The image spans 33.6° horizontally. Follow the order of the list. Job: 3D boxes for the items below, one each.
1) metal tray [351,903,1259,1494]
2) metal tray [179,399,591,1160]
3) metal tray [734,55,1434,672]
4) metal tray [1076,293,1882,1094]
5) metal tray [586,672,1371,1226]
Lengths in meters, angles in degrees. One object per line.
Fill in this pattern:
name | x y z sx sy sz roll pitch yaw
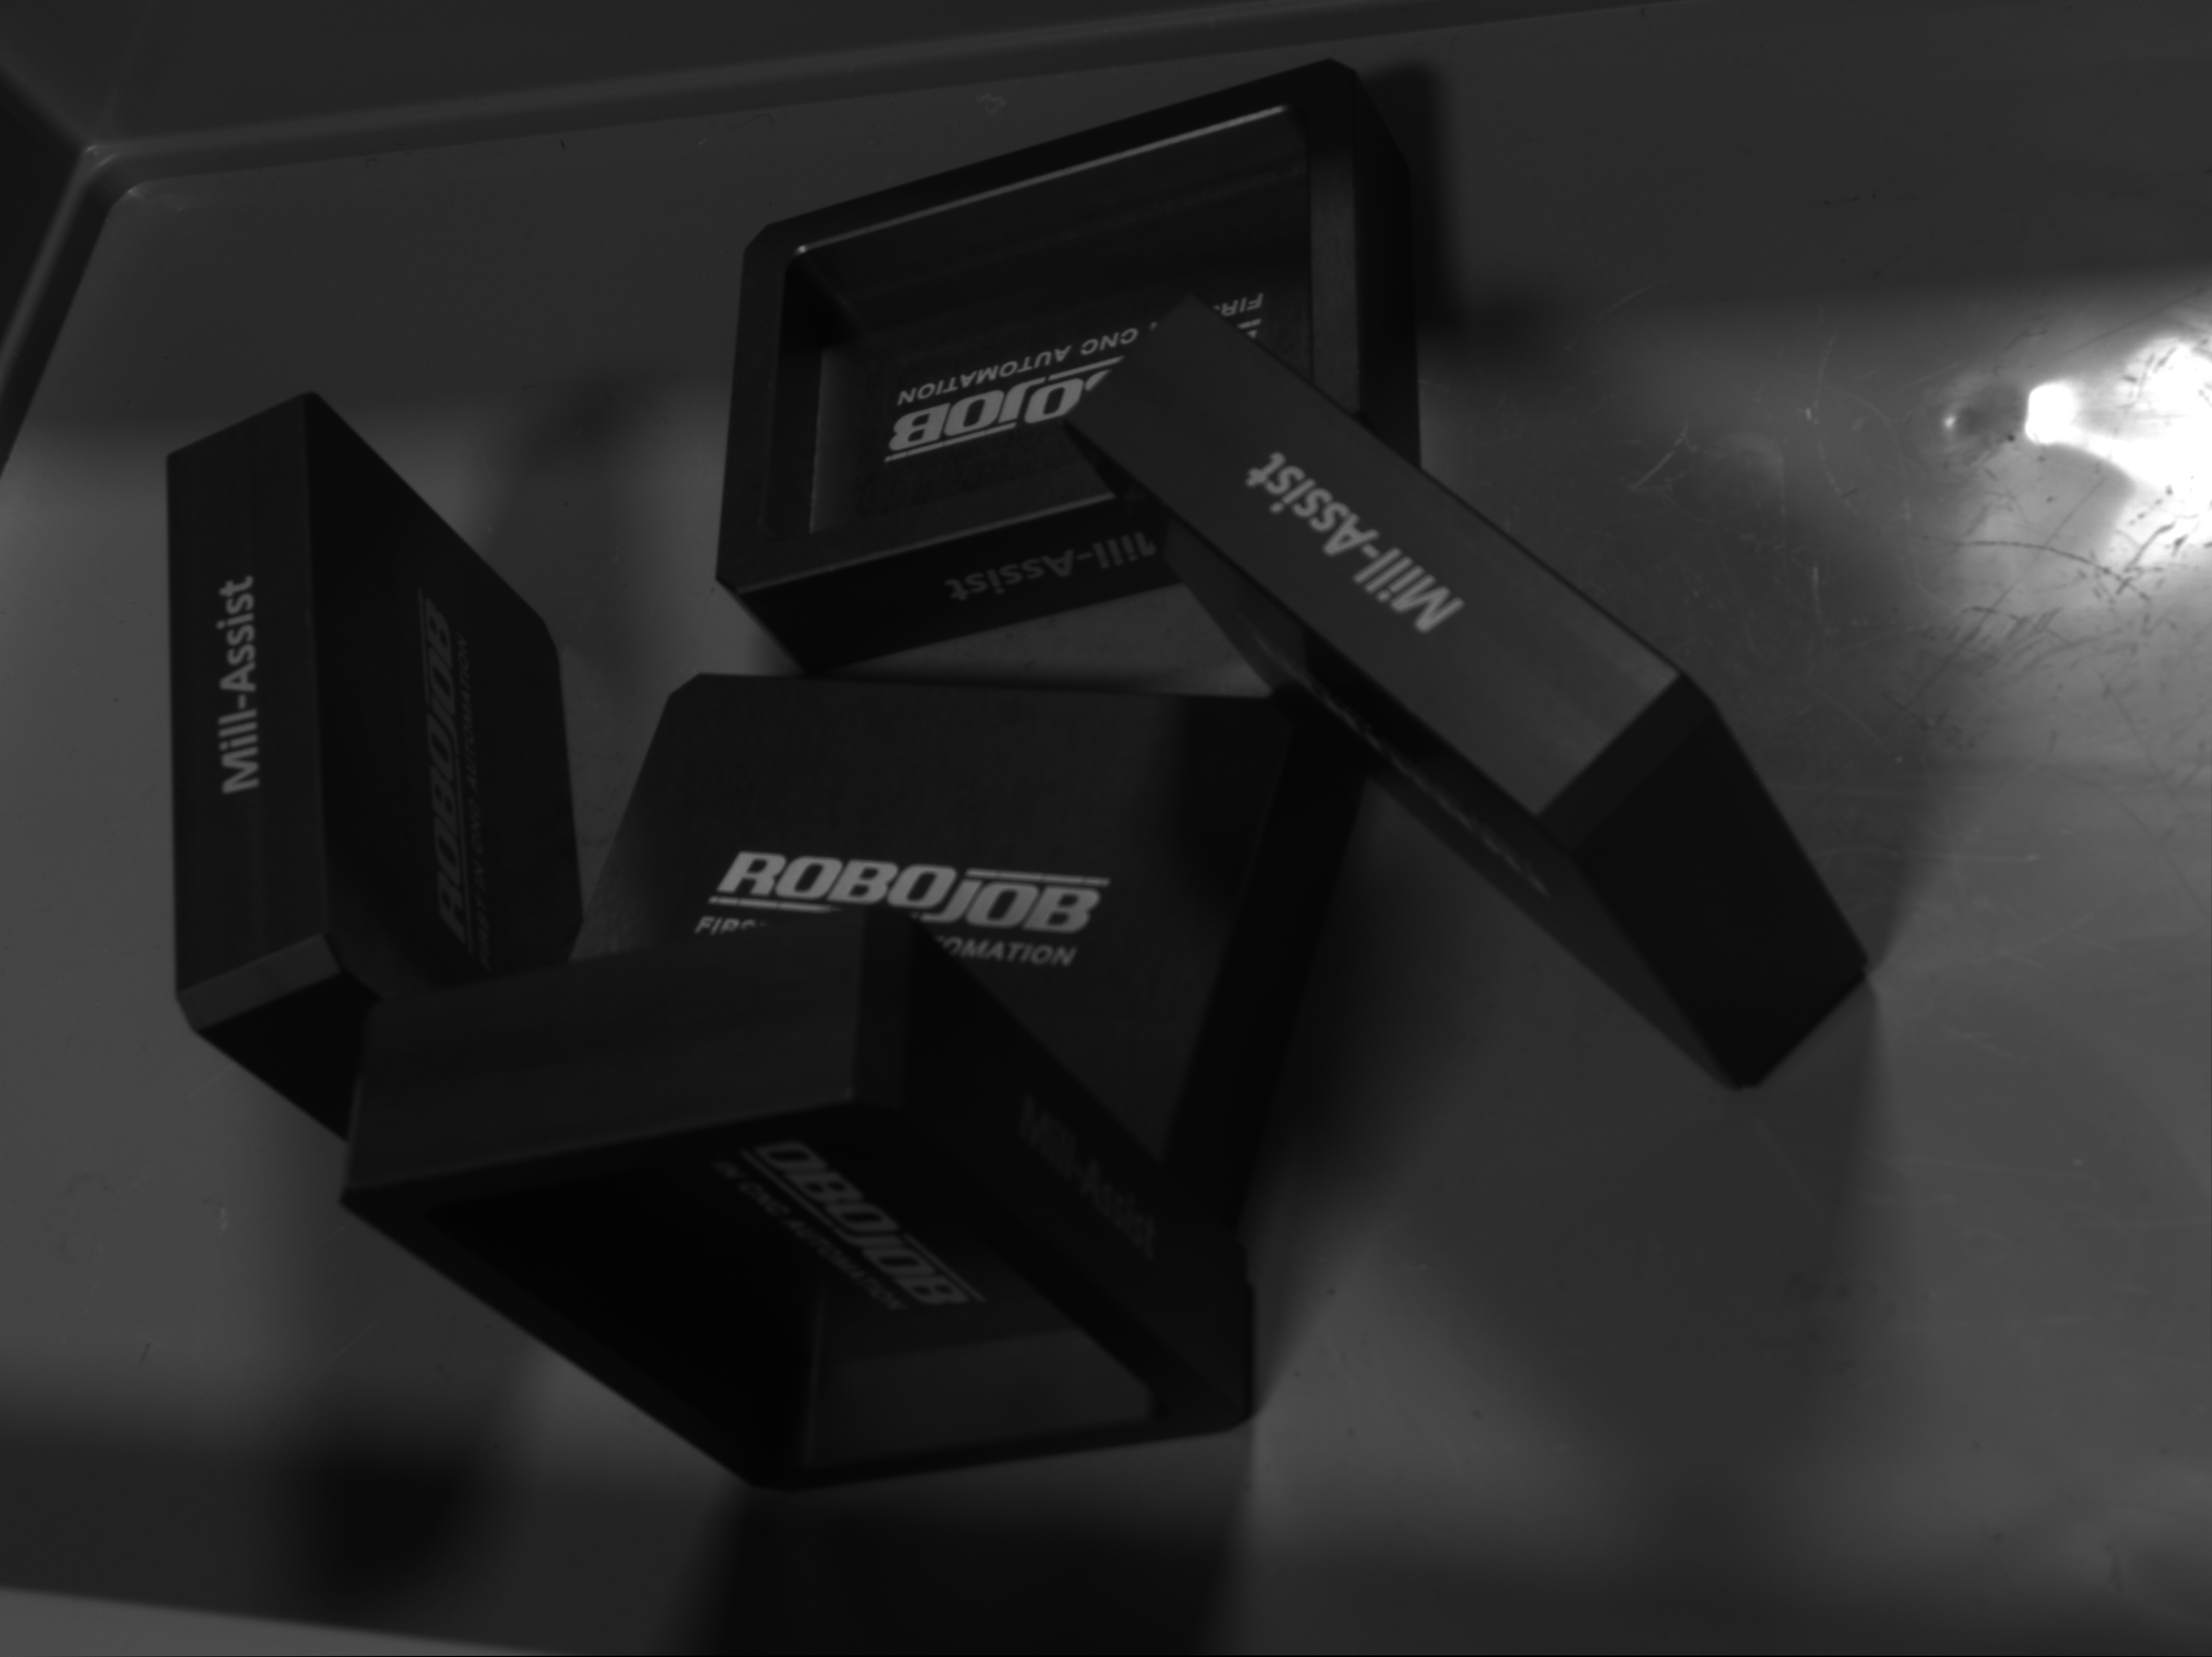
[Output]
metal tray | -0.041 0.061 0.558 0.090 0.130 0.030 -12 57 21
metal tray | -0.130 -0.003 0.673 0.030 0.090 0.130 -22 54 14
metal tray | -0.004 -0.088 0.696 0.130 0.030 0.090 -13 56 21
metal tray | 0.058 -0.022 0.582 0.030 0.090 0.130 -44 51 -2
metal tray | -0.027 0.020 0.640 0.130 0.030 0.090 3 63 30
